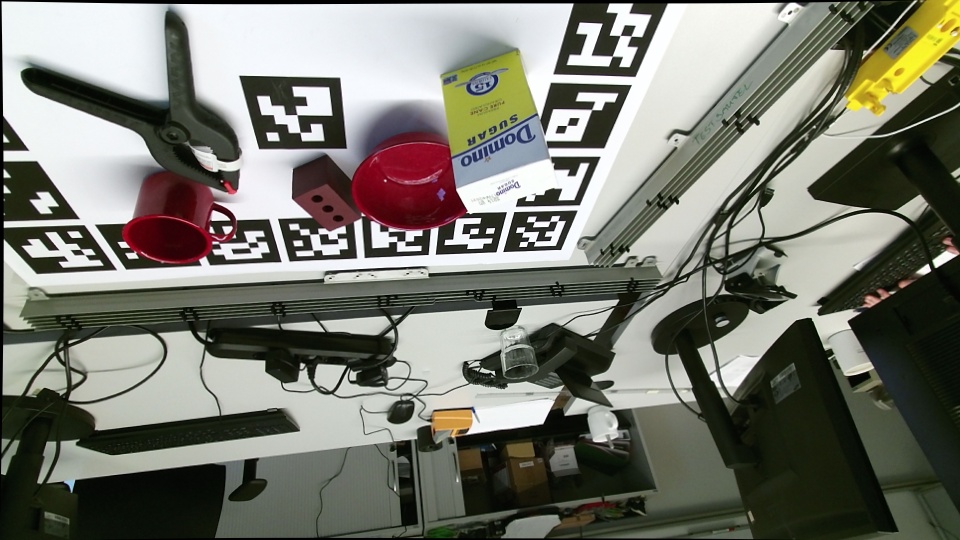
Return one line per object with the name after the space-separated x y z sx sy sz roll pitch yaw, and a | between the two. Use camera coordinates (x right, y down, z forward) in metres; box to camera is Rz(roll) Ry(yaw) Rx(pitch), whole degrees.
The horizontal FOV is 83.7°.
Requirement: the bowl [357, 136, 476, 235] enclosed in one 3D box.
-0.074 -0.115 0.681 0.162 0.055 0.162 -6 143 -5 | bowl

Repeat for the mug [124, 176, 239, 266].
-0.360 -0.056 0.660 0.118 0.081 0.093 17 135 -28 | mug

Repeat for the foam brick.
-0.193 -0.099 0.685 0.053 0.051 0.078 -20 142 11 | foam brick

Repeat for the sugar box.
0.024 -0.153 0.555 0.093 0.175 0.045 -17 141 10 | sugar box

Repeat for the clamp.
-0.316 -0.151 0.577 0.166 0.036 0.203 -18 142 7 | clamp
